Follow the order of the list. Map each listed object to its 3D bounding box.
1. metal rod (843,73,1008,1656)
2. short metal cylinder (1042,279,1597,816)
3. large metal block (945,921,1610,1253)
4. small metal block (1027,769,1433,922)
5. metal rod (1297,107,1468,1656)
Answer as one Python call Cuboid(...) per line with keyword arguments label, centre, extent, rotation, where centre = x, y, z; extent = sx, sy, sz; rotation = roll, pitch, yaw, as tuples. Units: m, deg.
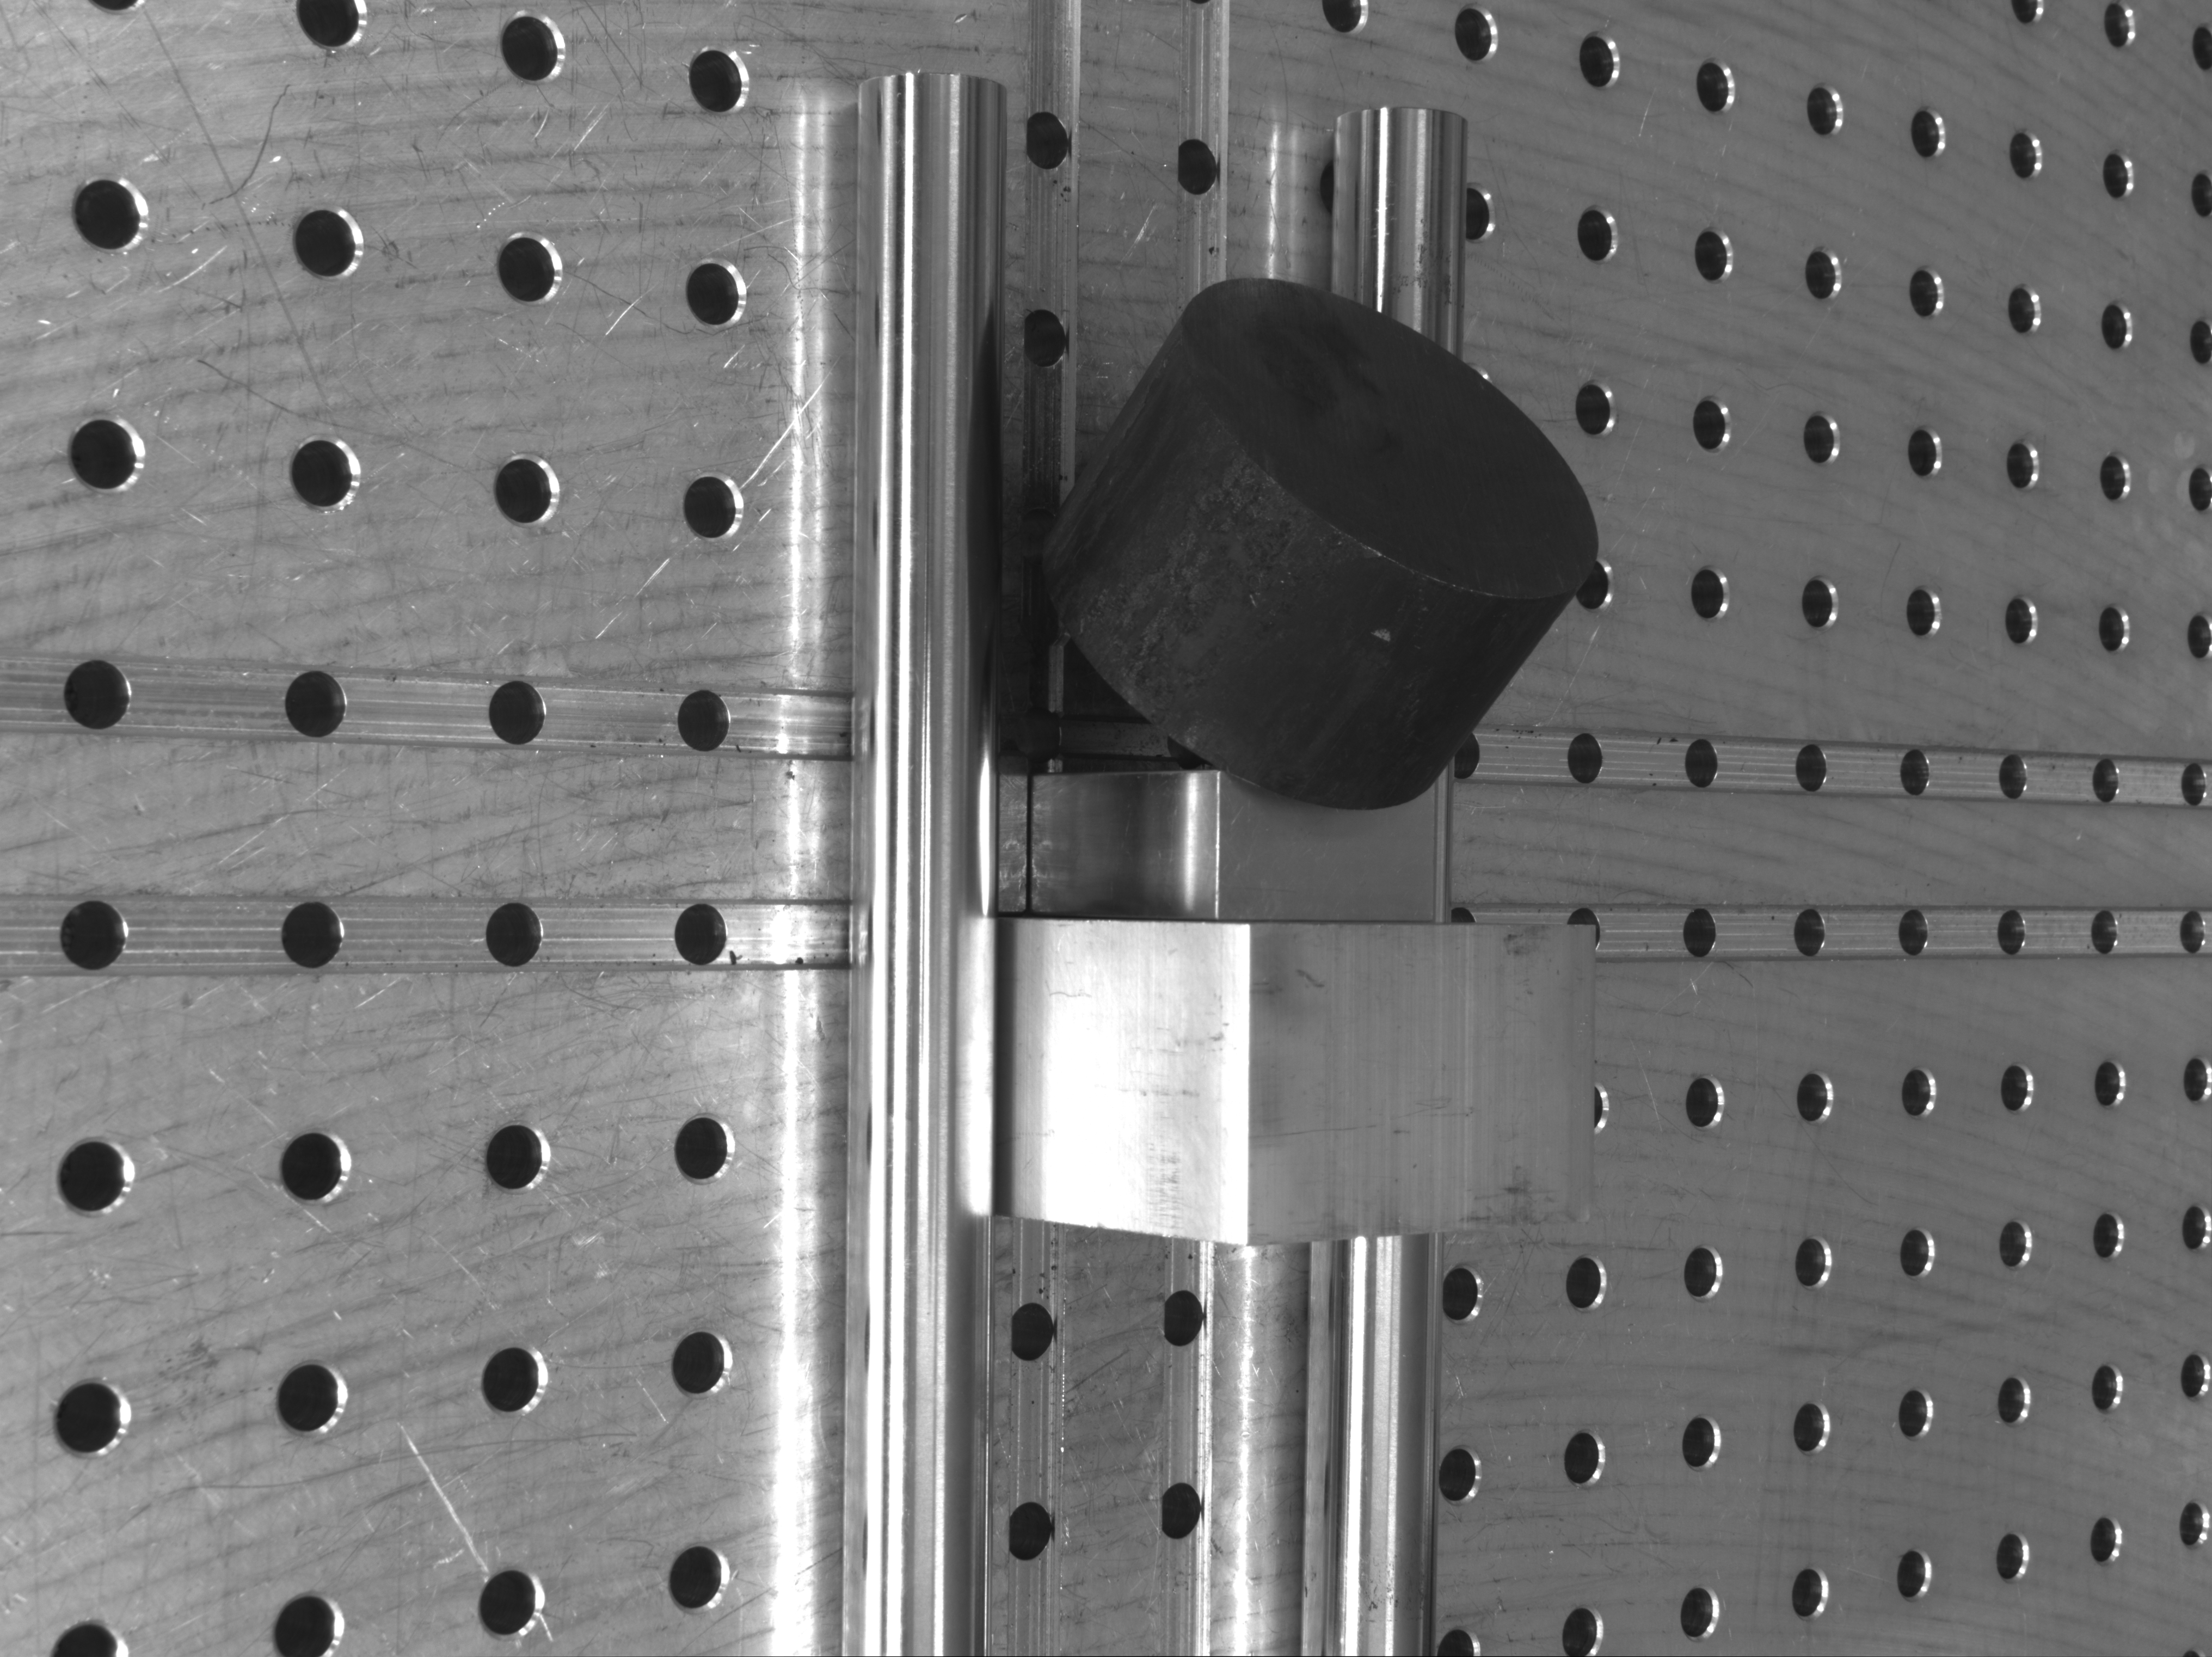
Cuboid(label="metal rod", centre=(-0.030, 0.026, 0.614), extent=(0.025, 0.025, 0.300), rotation=(1, 89, -40))
Cuboid(label="short metal cylinder", centre=(0.036, -0.048, 0.625), extent=(0.080, 0.050, 0.080), rotation=(23, 34, -17))
Cuboid(label="large metal block", centre=(0.028, 0.041, 0.624), extent=(0.080, 0.080, 0.050), rotation=(1, 89, -40))
Cuboid(label="small metal block", centre=(0.021, 0.003, 0.641), extent=(0.050, 0.050, 0.025), rotation=(2, 89, -40))
Cuboid(label="metal rod", centre=(0.051, 0.018, 0.682), extent=(0.025, 0.025, 0.300), rotation=(3, 88, -40))
